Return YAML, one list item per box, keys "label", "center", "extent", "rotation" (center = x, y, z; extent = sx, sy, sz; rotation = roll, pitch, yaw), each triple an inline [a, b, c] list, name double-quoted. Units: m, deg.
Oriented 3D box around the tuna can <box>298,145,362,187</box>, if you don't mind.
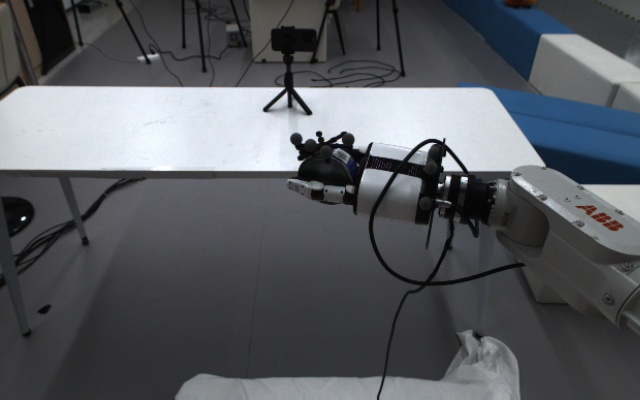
- label: "tuna can"
  center: [0.015, -0.038, 0.710]
  extent: [0.085, 0.085, 0.034]
  rotation: [14, 40, 16]
